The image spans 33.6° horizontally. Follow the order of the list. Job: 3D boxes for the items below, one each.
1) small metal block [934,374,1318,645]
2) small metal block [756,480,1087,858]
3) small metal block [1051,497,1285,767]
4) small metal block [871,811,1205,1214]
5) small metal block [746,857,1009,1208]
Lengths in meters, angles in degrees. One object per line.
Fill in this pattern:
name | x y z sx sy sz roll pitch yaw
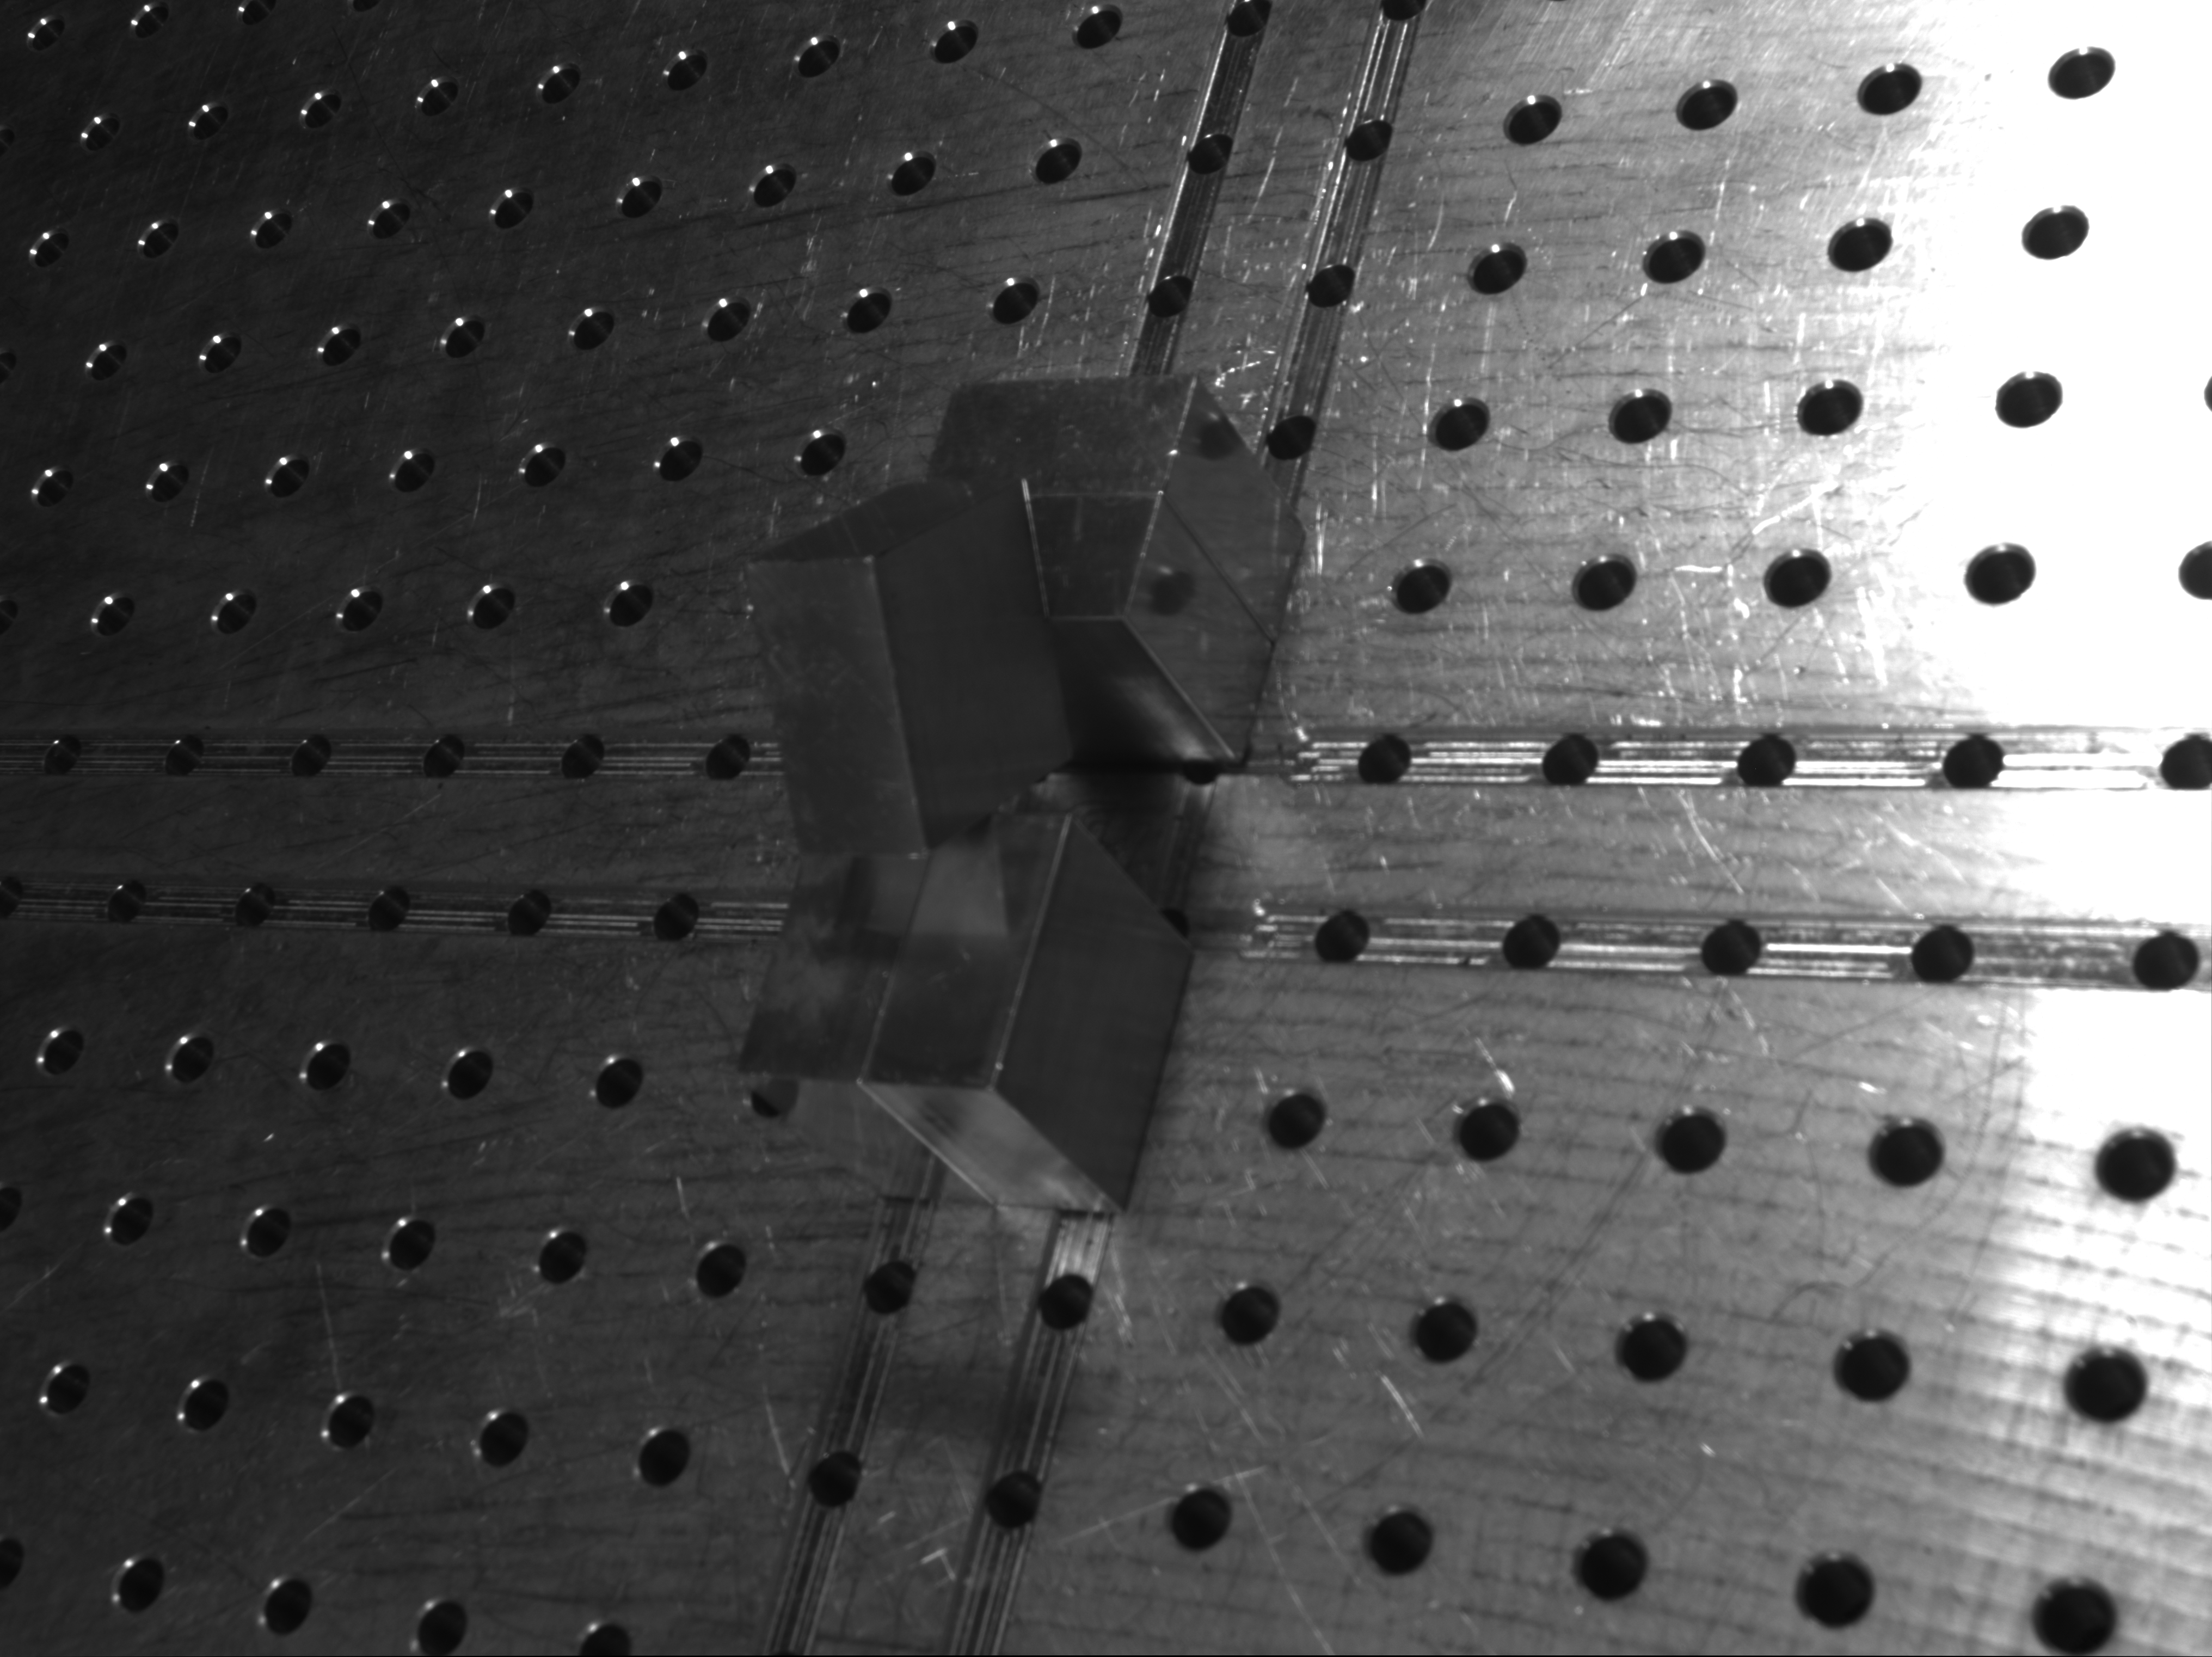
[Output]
small metal block | 0.004 -0.057 0.664 0.050 0.050 0.025 2 62 29
small metal block | -0.030 -0.027 0.610 0.025 0.050 0.050 0 19 29
small metal block | -0.003 -0.035 0.653 0.050 0.050 0.025 2 62 29
small metal block | -0.010 0.031 0.616 0.025 0.050 0.050 1 62 29
small metal block | -0.032 0.031 0.629 0.025 0.050 0.050 1 62 29
